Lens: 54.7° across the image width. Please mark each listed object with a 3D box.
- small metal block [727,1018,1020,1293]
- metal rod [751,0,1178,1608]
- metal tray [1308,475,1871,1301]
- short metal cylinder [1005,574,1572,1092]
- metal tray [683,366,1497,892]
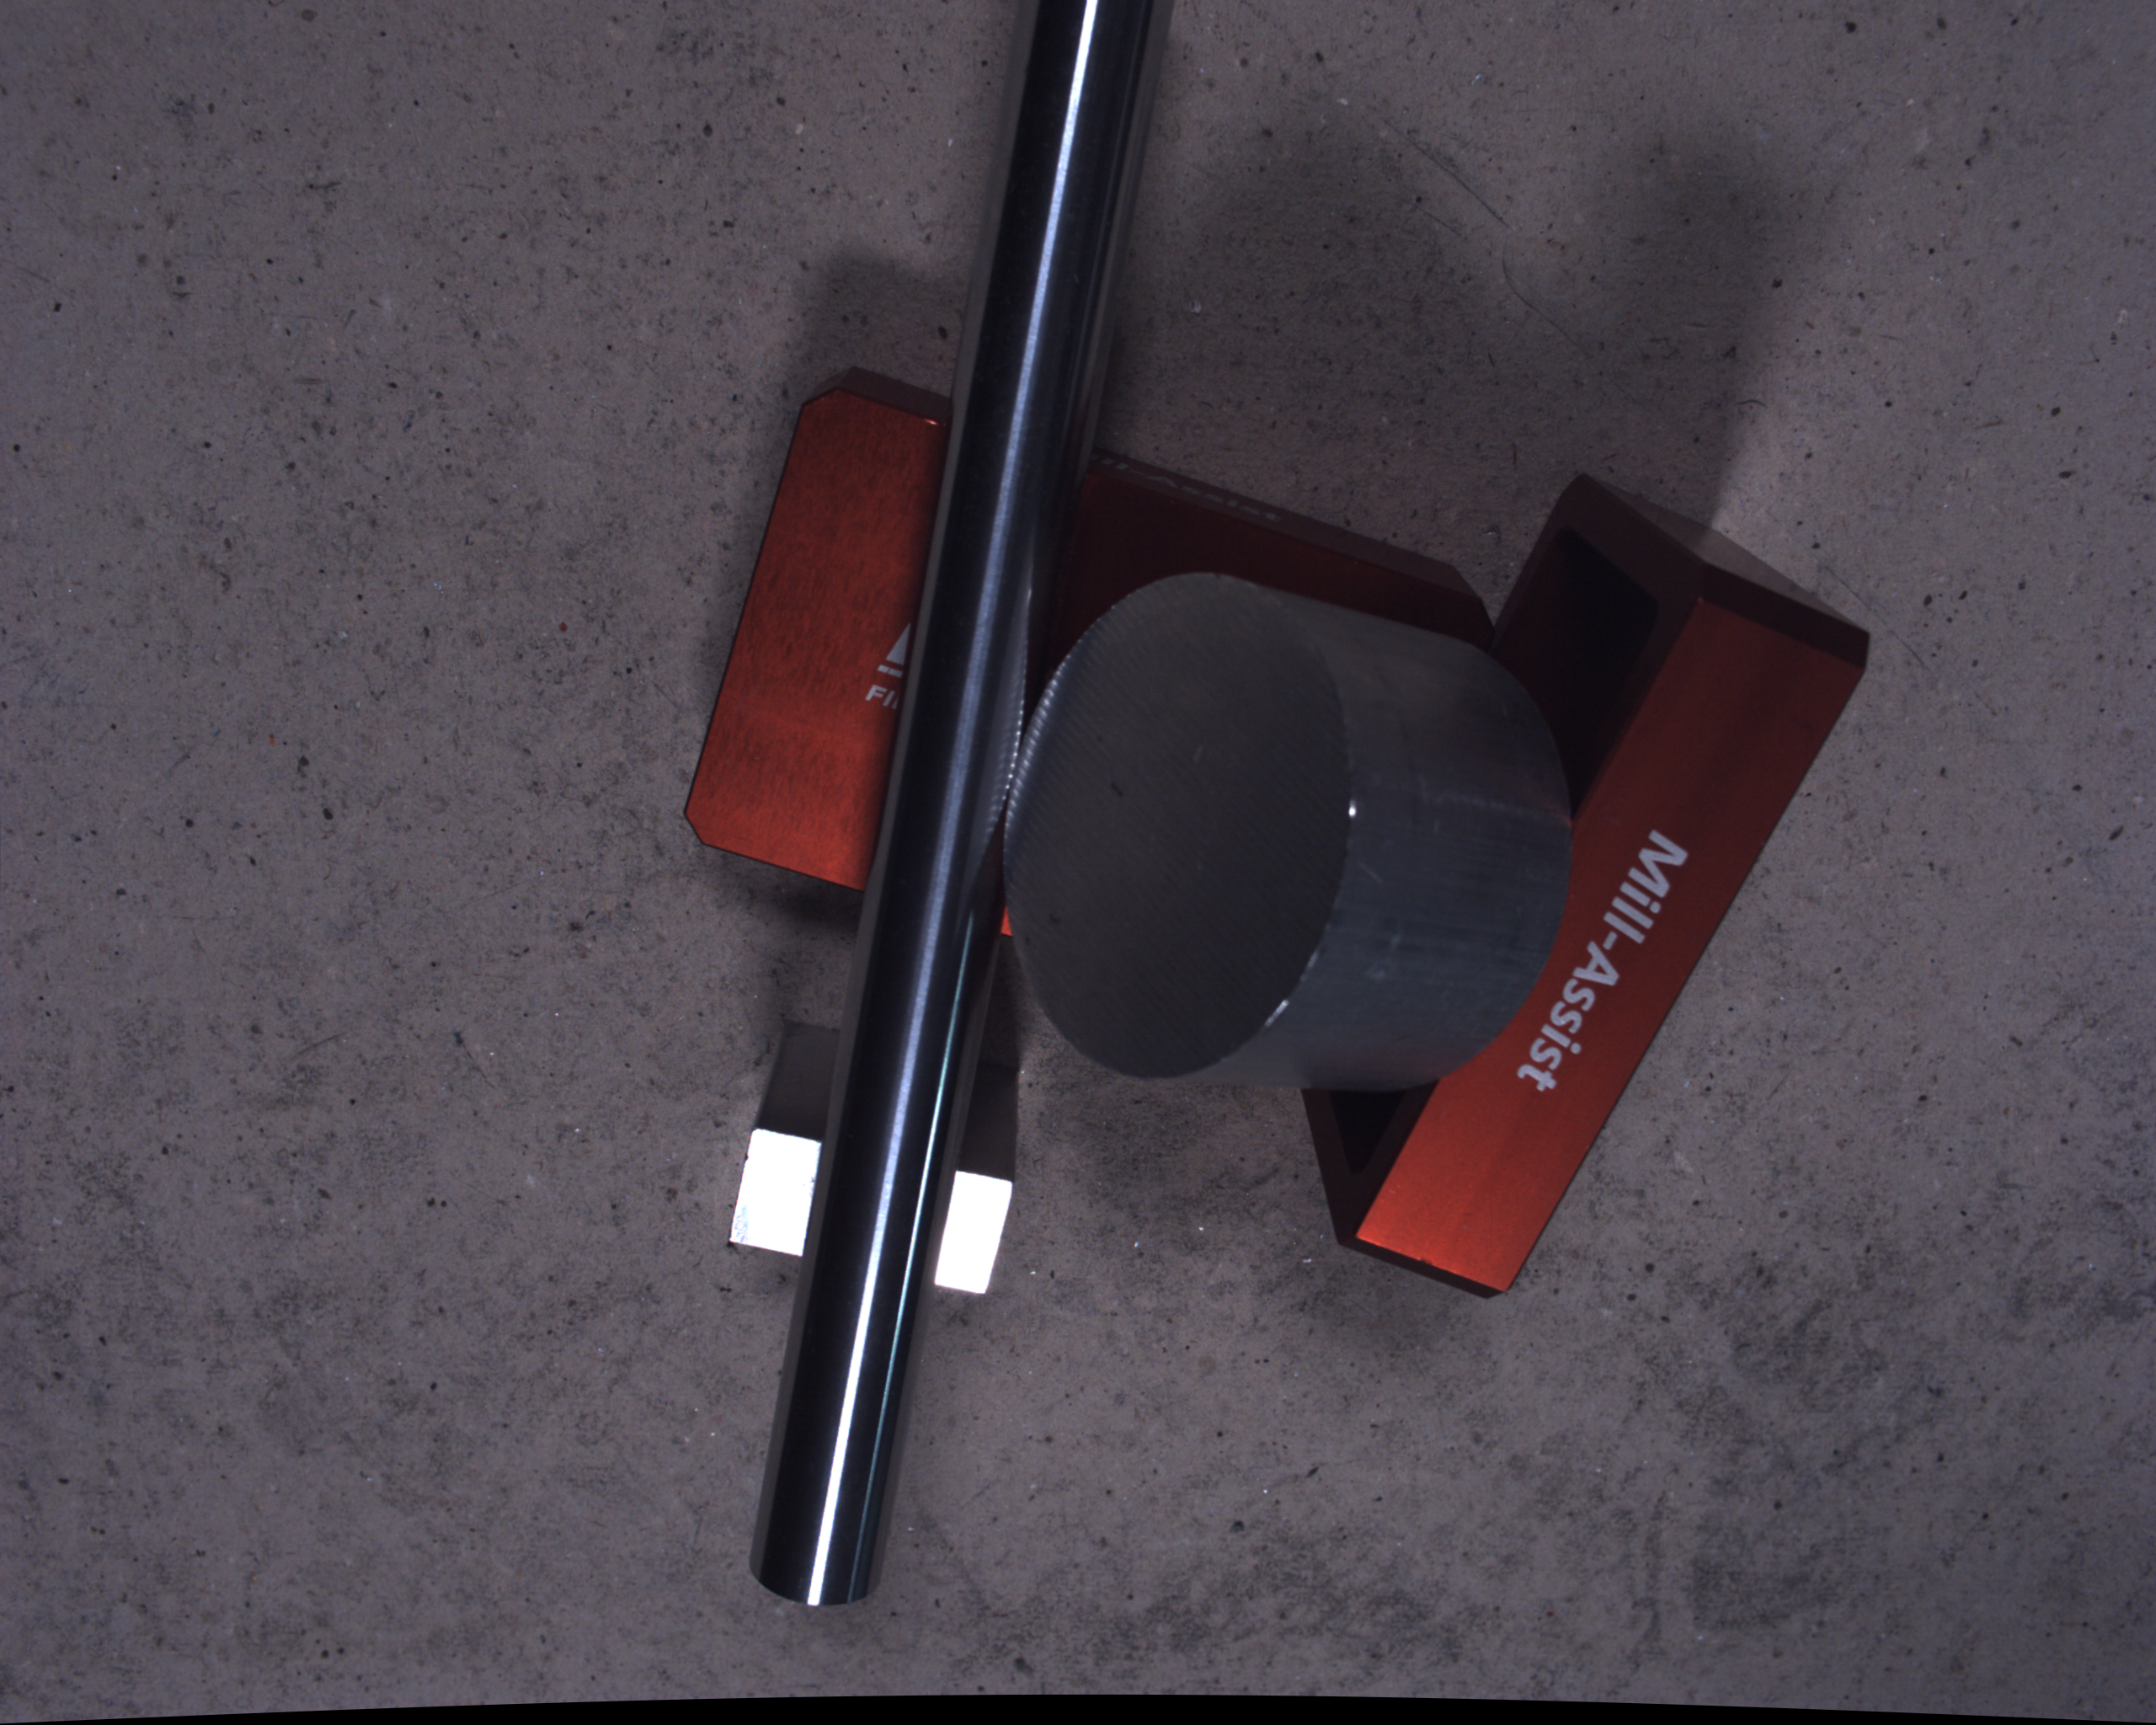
[{"bbox_3d":[-0.040,0.058,0.418,0.050,0.050,0.025,12,110,-5],"label":"small metal block"},{"bbox_3d":[-0.021,-0.010,0.365,0.025,0.025,0.298,10,101,-4],"label":"metal rod"},{"bbox_3d":[0.084,0.002,0.378,0.030,0.090,0.129,22,109,-8],"label":"metal tray"},{"bbox_3d":[0.033,-0.003,0.342,0.050,0.080,0.079,9,114,-39],"label":"short metal cylinder"},{"bbox_3d":[0.001,-0.031,0.396,0.131,0.030,0.089,17,109,-7],"label":"metal tray"}]
